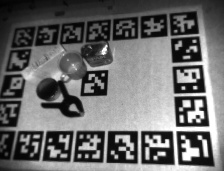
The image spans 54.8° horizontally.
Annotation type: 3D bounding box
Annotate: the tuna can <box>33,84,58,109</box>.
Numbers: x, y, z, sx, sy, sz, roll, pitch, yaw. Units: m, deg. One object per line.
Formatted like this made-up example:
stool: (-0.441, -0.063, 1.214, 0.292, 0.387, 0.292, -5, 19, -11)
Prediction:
tuna can: (-0.246, 0.042, 0.801, 0.085, 0.034, 0.085, -3, 73, 11)

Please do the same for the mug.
mug: (-0.157, -0.040, 0.781, 0.092, 0.082, 0.117, 23, 80, 17)

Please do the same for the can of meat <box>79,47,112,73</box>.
can of meat: (-0.056, -0.090, 0.786, 0.101, 0.084, 0.057, -11, 69, 7)

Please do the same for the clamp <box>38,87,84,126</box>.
clamp: (-0.170, 0.092, 0.775, 0.164, 0.037, 0.122, 33, 77, 15)

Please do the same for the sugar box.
sugar box: (-0.246, -0.048, 0.806, 0.176, 0.093, 0.045, -38, 67, -4)
